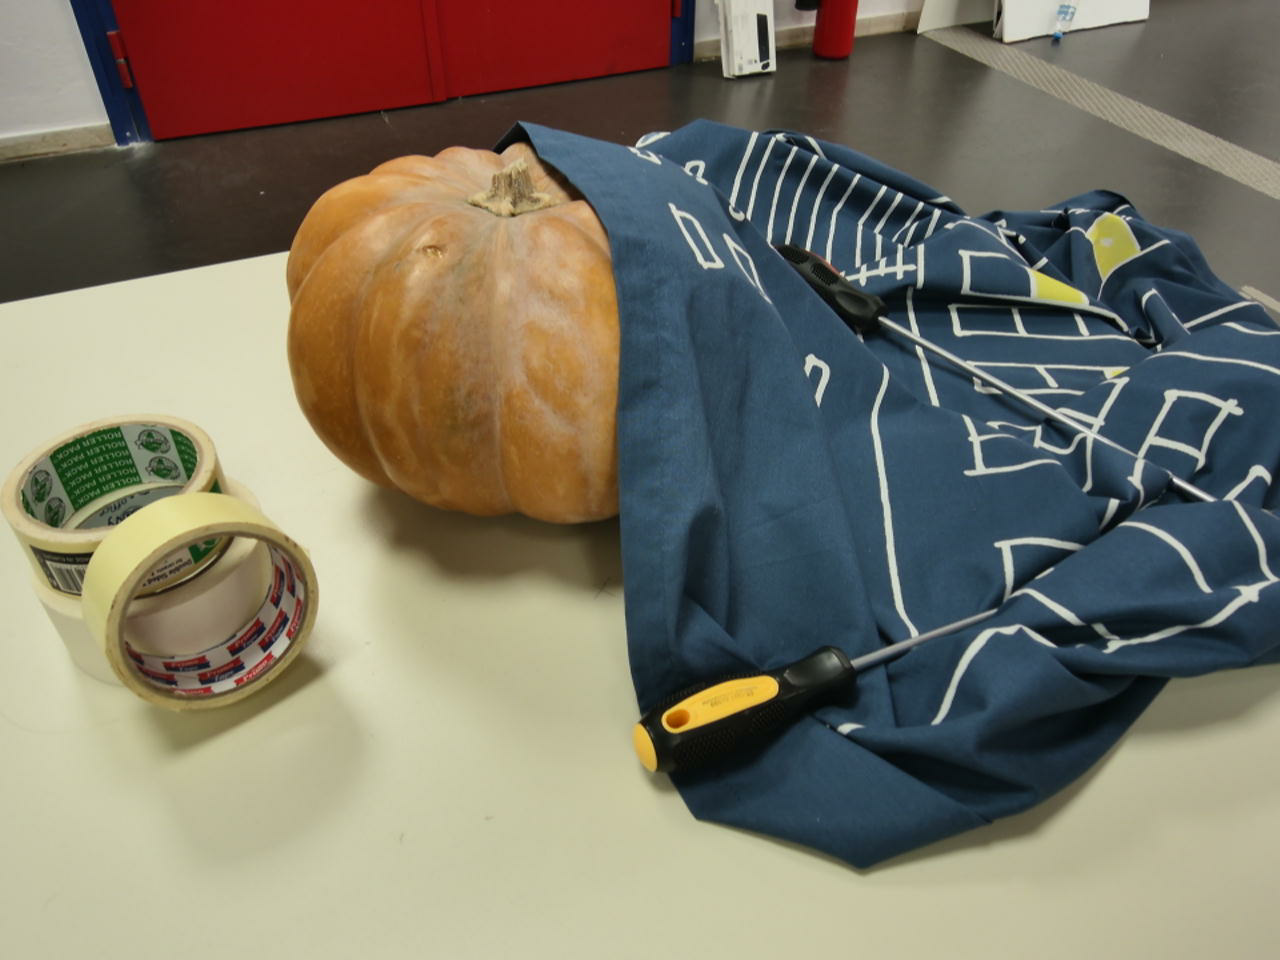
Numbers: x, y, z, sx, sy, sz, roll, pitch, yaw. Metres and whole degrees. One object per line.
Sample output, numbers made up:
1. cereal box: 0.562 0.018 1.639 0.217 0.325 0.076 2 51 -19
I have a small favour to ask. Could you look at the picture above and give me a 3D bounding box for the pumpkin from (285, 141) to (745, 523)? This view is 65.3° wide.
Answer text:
1. pumpkin: -0.066 -0.089 0.570 0.277 0.181 0.277 0 39 0
